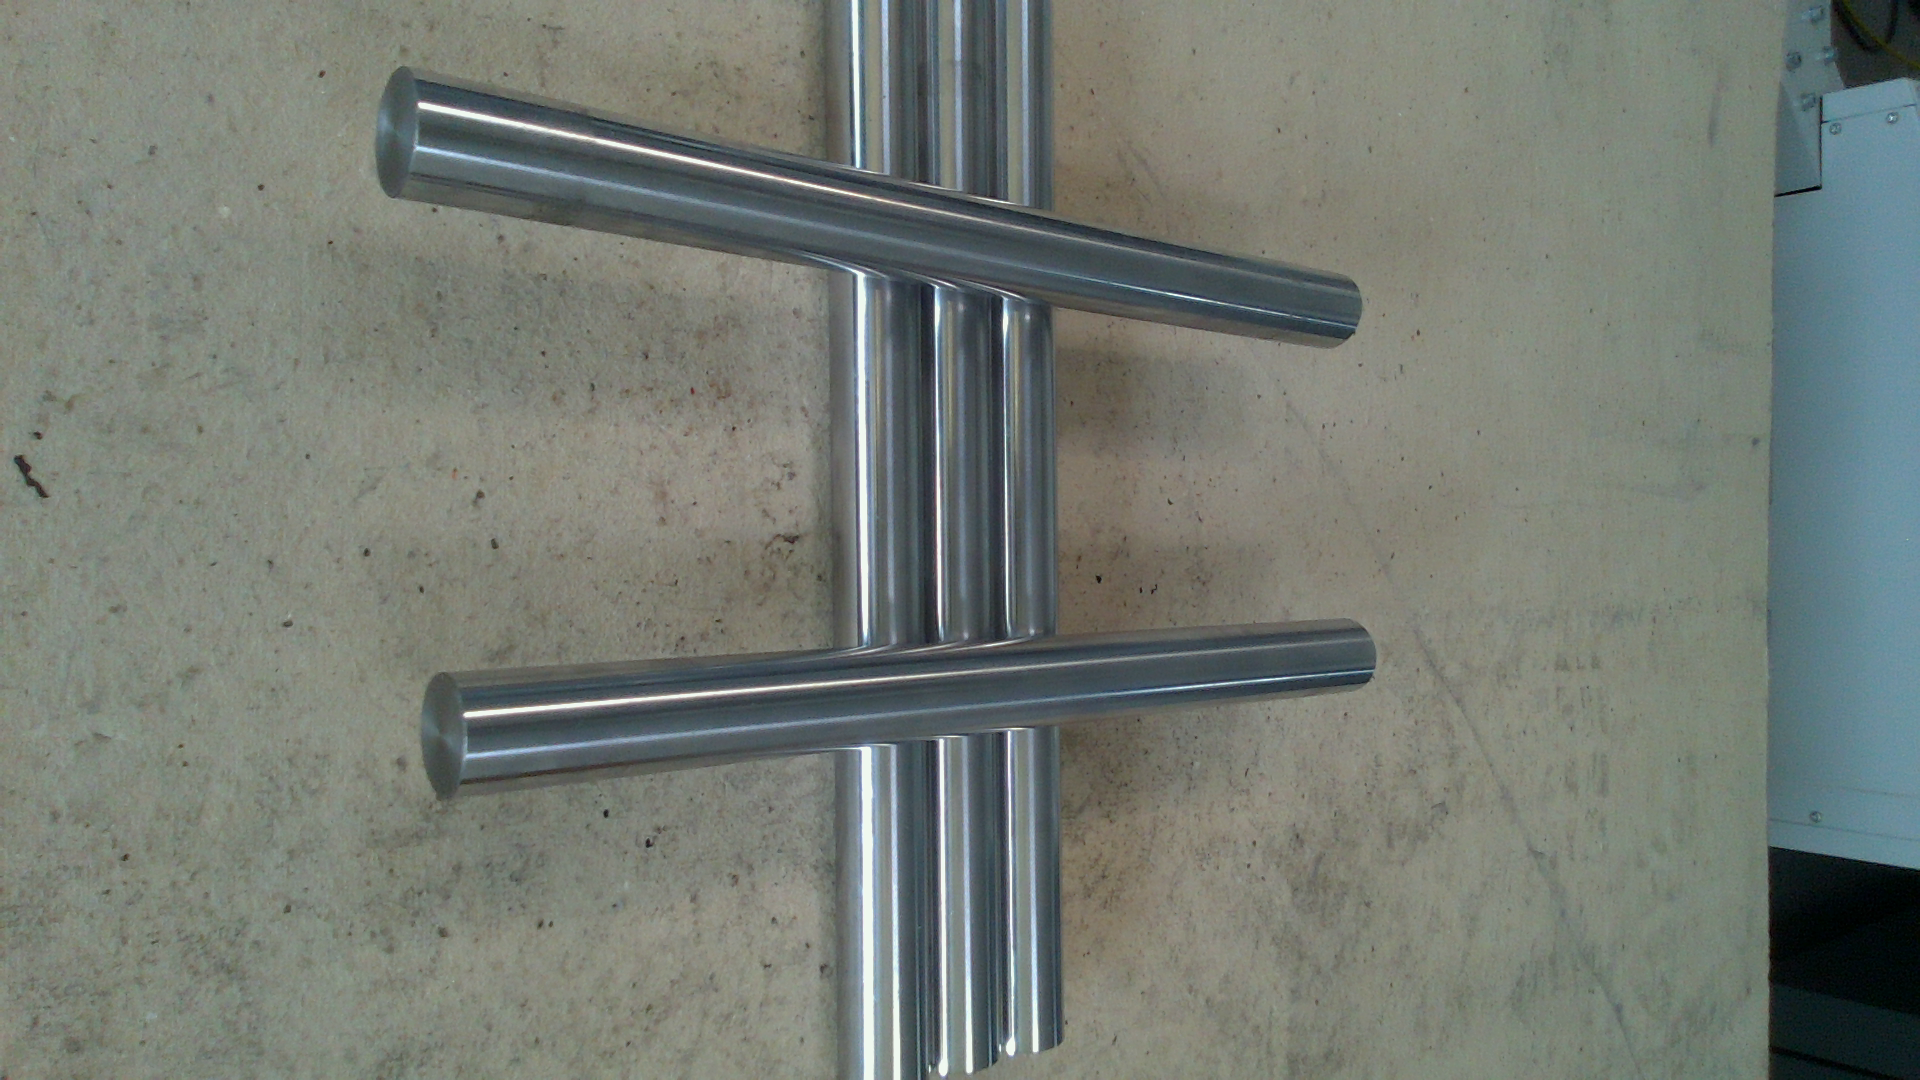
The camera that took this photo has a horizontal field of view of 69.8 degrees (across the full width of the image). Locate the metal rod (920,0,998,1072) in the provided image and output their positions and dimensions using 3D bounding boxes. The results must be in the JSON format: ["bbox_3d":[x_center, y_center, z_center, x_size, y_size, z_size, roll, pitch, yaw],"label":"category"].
[{"bbox_3d":[-0.004,-0.005,0.386,0.025,0.025,0.300,-1,91,-40],"label":"metal rod"}]

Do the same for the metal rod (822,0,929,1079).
[{"bbox_3d":[-0.023,-0.005,0.370,0.025,0.025,0.300,-1,91,-40],"label":"metal rod"}]

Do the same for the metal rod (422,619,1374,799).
[{"bbox_3d":[0.014,0.038,0.368,0.301,0.025,0.025,0,90,-40],"label":"metal rod"}]

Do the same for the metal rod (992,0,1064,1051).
[{"bbox_3d":[0.016,-0.005,0.402,0.025,0.025,0.300,-1,91,-40],"label":"metal rod"}]

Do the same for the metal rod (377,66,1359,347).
[{"bbox_3d":[0.007,-0.077,0.362,0.301,0.025,0.025,1,90,-40],"label":"metal rod"}]
